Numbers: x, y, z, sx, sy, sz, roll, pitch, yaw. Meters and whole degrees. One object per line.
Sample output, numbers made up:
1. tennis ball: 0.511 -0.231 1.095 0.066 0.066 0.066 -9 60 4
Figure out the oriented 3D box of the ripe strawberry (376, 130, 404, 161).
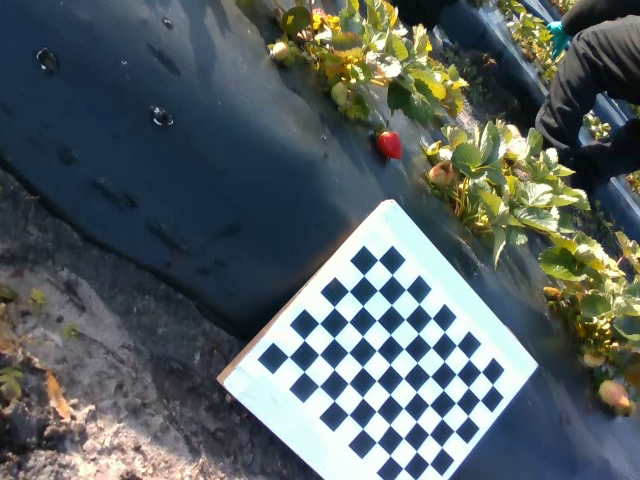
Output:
1. ripe strawberry: 0.082 -0.109 0.667 0.030 0.044 0.033 -17 -25 -15
